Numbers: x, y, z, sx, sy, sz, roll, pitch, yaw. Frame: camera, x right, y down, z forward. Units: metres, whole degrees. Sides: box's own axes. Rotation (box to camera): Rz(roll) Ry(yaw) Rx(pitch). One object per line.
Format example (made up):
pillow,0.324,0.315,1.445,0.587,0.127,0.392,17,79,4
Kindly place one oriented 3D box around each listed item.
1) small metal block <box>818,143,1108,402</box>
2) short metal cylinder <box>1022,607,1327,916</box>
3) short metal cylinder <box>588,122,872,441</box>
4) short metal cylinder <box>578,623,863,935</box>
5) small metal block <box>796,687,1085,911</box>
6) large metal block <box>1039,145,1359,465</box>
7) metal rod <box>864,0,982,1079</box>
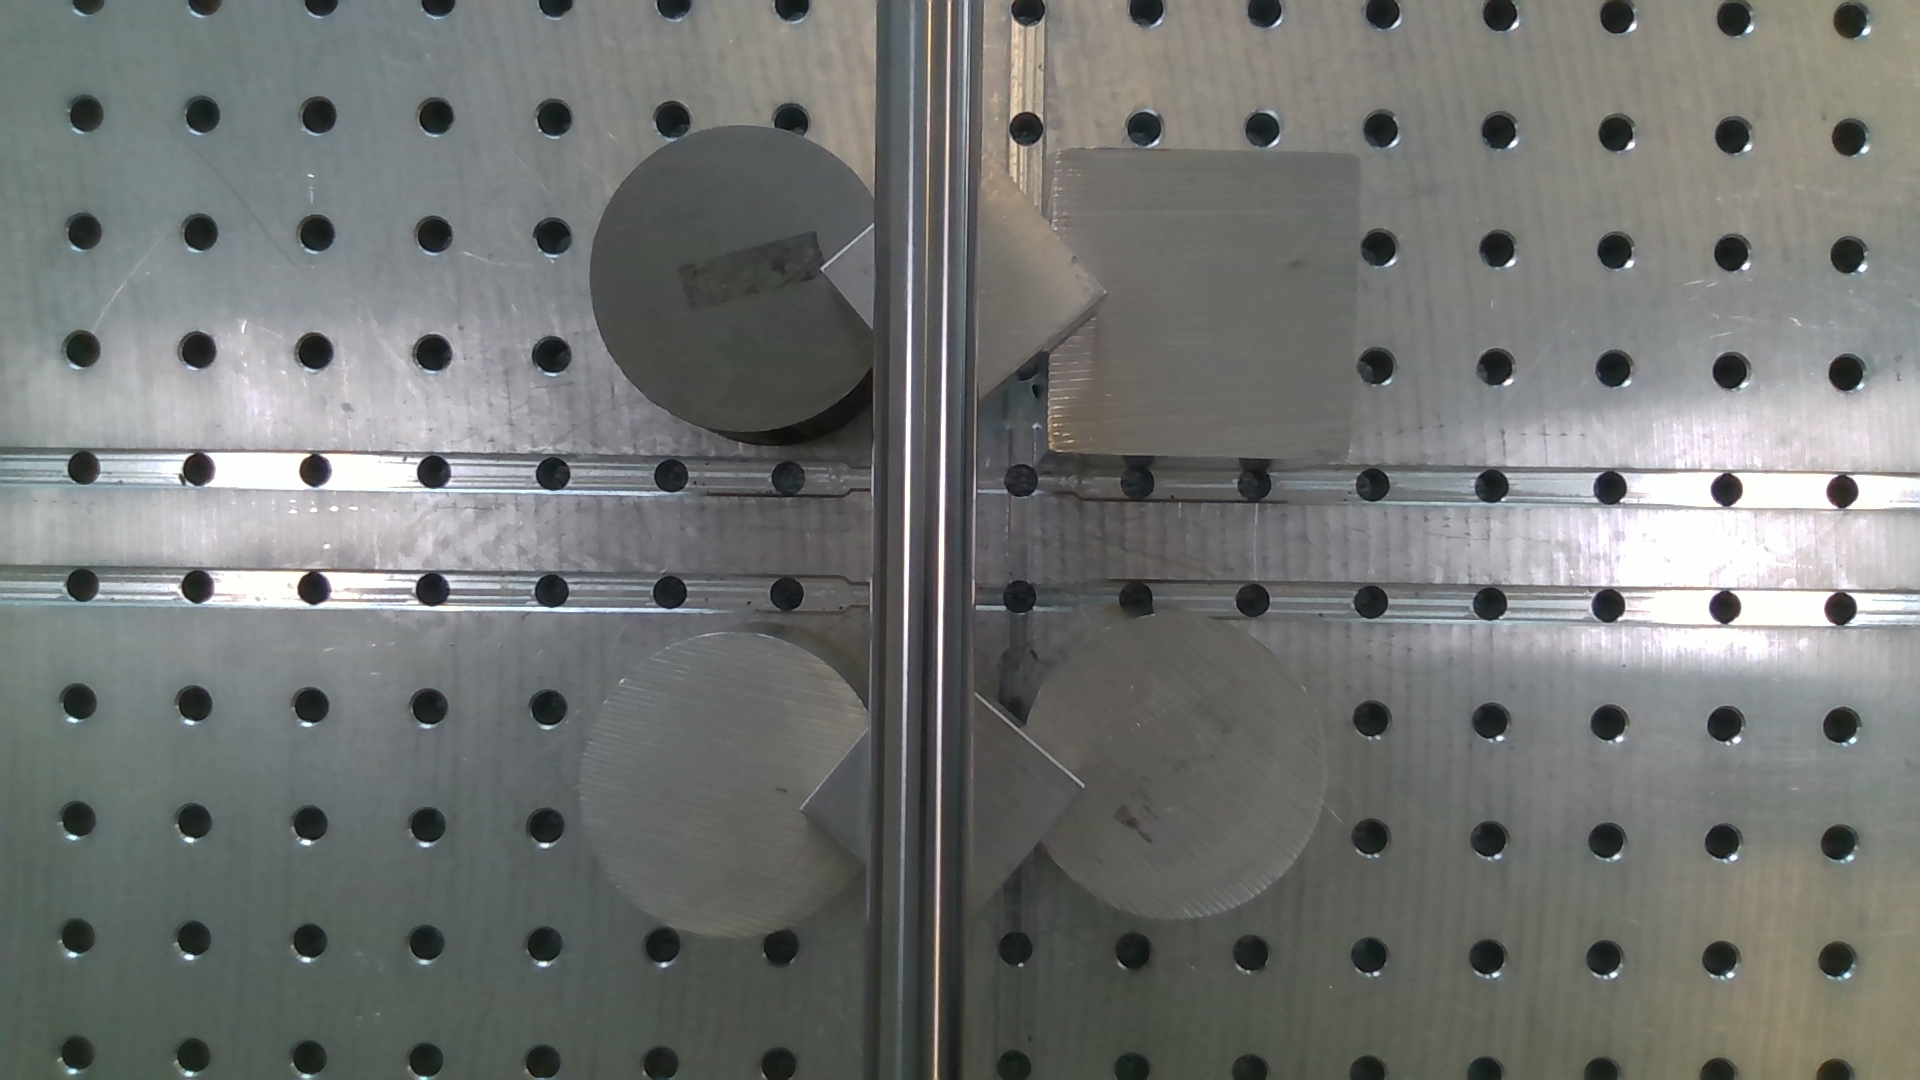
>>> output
small metal block,0.001,-0.064,0.348,0.050,0.025,0.050,-40,90,0
short metal cylinder,0.056,0.059,0.386,0.080,0.050,0.080,0,90,0
short metal cylinder,-0.057,-0.069,0.384,0.080,0.050,0.080,0,90,0
short metal cylinder,-0.060,0.064,0.386,0.080,0.050,0.080,0,90,0
small metal block,-0.005,0.062,0.348,0.050,0.025,0.050,40,90,0
large metal block,0.063,-0.062,0.384,0.080,0.050,0.080,1,90,0
metal rod,-0.008,-0.013,0.322,0.025,0.025,0.300,1,90,0
